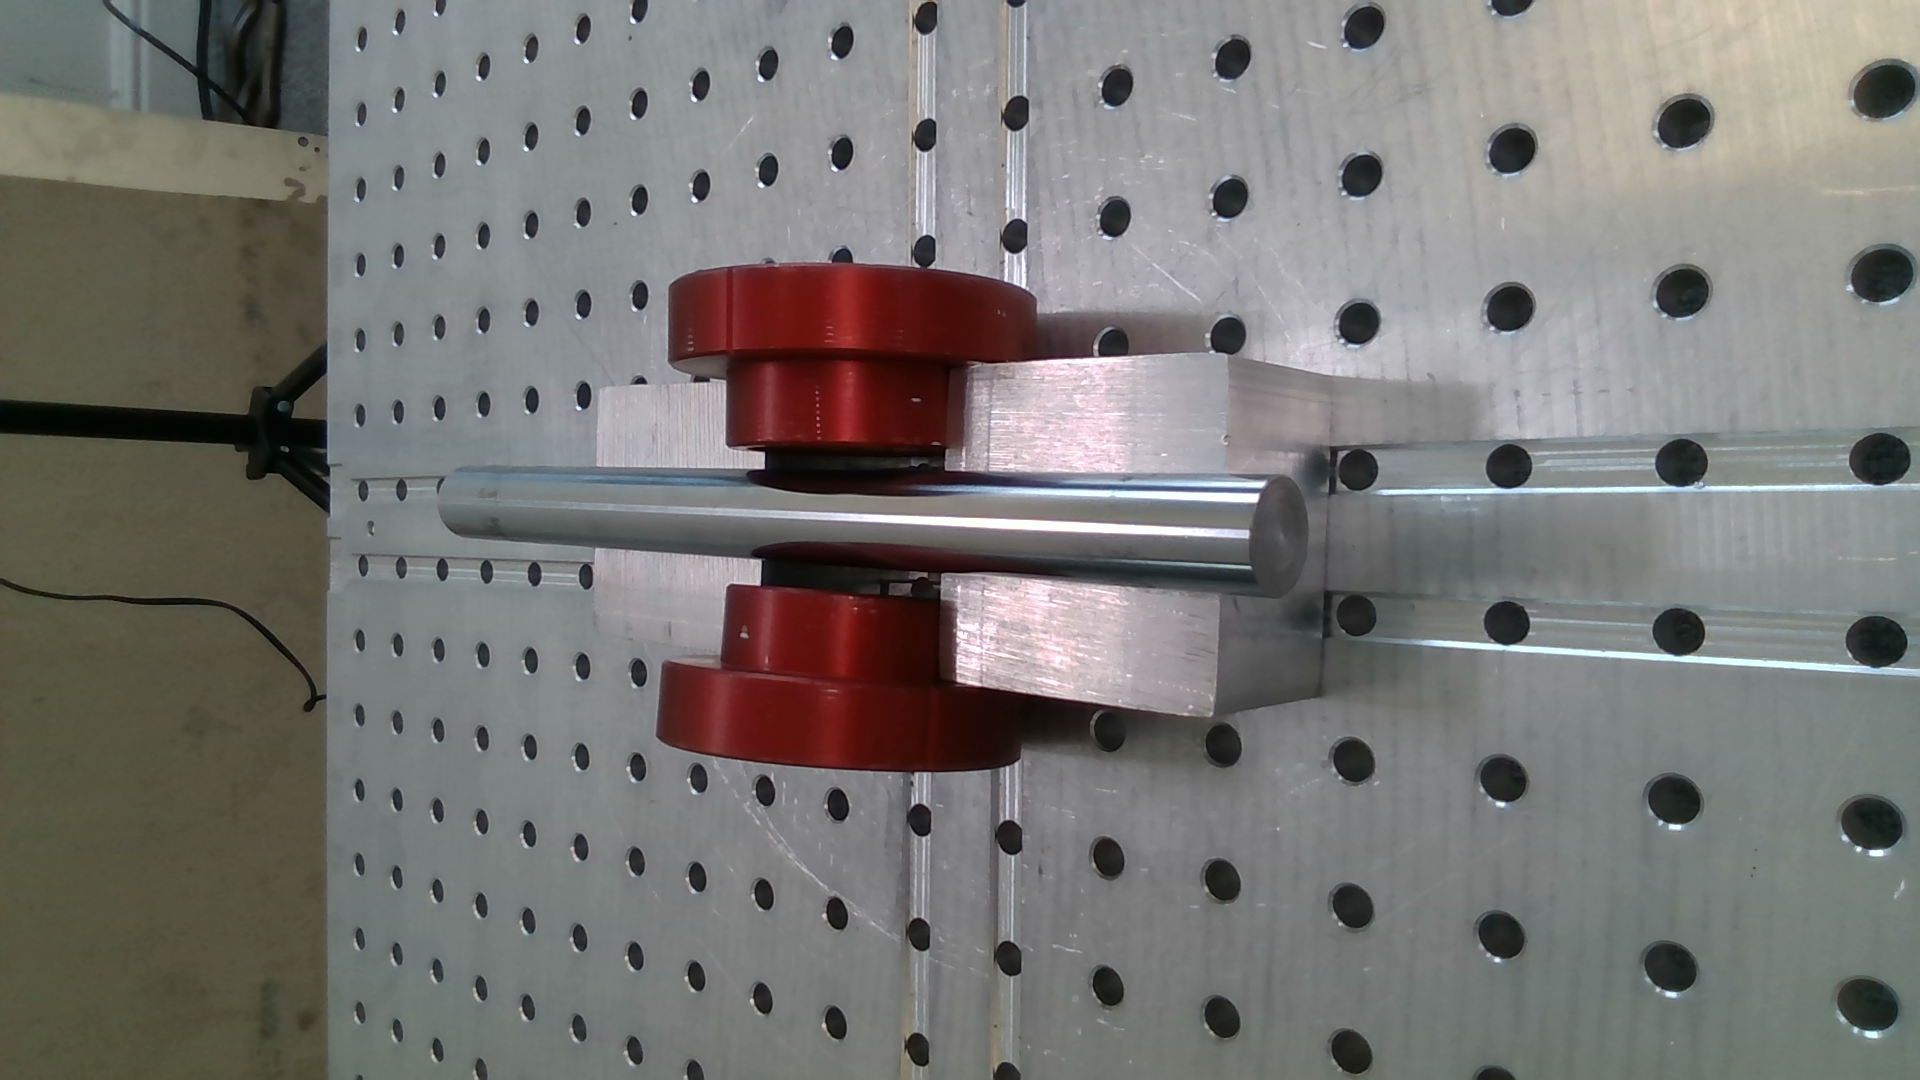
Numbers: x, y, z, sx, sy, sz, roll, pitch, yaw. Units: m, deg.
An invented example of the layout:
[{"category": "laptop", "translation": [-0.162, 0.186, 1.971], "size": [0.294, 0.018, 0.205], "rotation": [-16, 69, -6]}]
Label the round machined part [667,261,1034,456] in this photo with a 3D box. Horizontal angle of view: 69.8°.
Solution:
[{"category": "round machined part", "translation": [-0.029, -0.045, 0.370], "size": [0.098, 0.098, 0.042], "rotation": [2, 92, 40]}]

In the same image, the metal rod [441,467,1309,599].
[{"category": "metal rod", "translation": [-0.051, -0.007, 0.371], "size": [0.300, 0.025, 0.025], "rotation": [3, 92, 40]}]

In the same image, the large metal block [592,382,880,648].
[{"category": "large metal block", "translation": [-0.071, -0.008, 0.437], "size": [0.080, 0.050, 0.080], "rotation": [4, 93, 40]}]

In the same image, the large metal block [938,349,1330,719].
[{"category": "large metal block", "translation": [0.042, -0.003, 0.342], "size": [0.080, 0.050, 0.080], "rotation": [3, 92, 40]}]

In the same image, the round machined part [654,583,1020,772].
[{"category": "round machined part", "translation": [-0.031, 0.035, 0.373], "size": [0.098, 0.098, 0.042], "rotation": [2, 87, 40]}]
